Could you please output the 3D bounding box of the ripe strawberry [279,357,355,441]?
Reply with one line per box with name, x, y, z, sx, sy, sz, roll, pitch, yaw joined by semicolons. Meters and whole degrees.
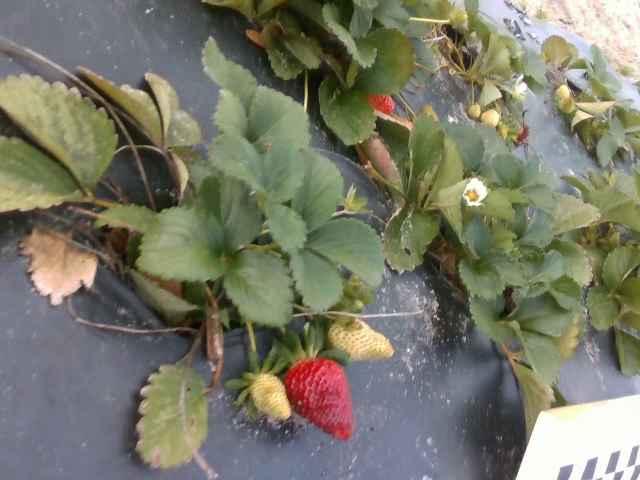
ripe strawberry;0.003;0.098;0.351;0.046;0.045;0.059;1;35;-38
